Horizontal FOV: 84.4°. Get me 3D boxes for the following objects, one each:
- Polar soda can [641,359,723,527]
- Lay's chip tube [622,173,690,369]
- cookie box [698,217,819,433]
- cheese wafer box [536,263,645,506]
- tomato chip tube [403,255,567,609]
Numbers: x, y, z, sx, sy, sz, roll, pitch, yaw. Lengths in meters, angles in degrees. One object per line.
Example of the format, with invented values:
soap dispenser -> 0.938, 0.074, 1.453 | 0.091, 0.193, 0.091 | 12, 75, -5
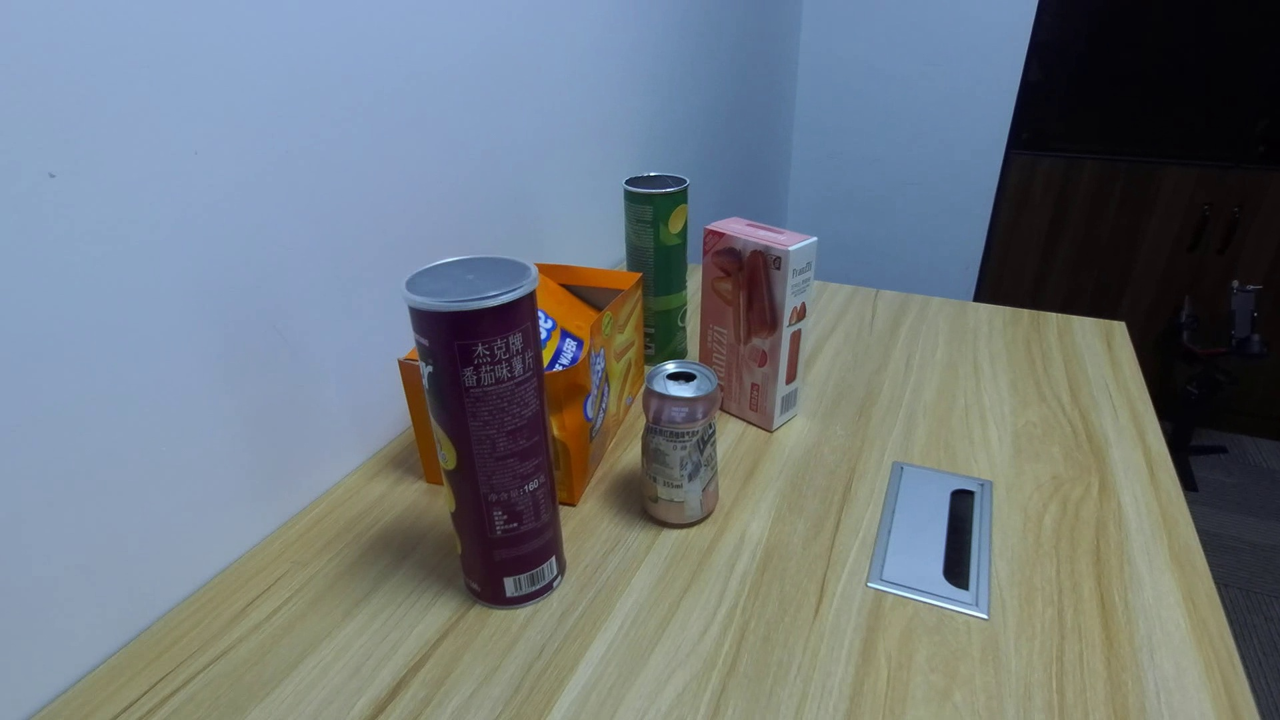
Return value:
Polar soda can -> 0.034, 0.066, 0.561 | 0.074, 0.122, 0.067 | -17, 32, -25
Lay's chip tube -> 0.020, -0.097, 0.776 | 0.071, 0.203, 0.071 | -1, 28, 1
cookie box -> 0.106, -0.033, 0.673 | 0.095, 0.185, 0.048 | 21, 34, 35
cheese wafer box -> -0.091, 0.014, 0.657 | 0.152, 0.132, 0.230 | 8, 29, 12
tomato chip tube -> -0.095, 0.055, 0.469 | 0.078, 0.234, 0.078 | -1, 28, 1
